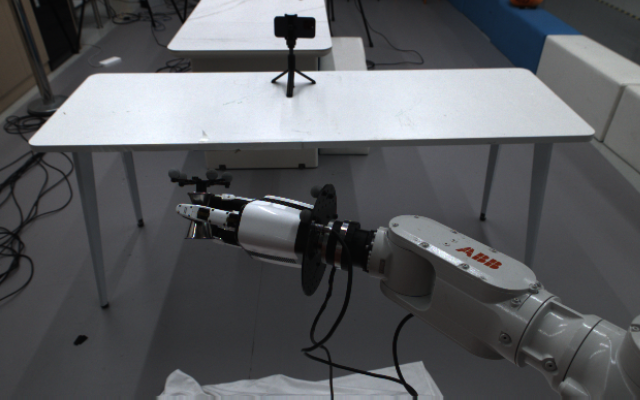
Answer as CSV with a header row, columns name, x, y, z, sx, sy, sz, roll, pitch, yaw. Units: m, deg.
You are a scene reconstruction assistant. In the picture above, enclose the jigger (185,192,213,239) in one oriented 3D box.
name,x,y,z,sx,sy,sz,roll,pitch,yaw
jigger,-0.178,0.024,0.717,0.043,0.071,0.043,1,-4,0
